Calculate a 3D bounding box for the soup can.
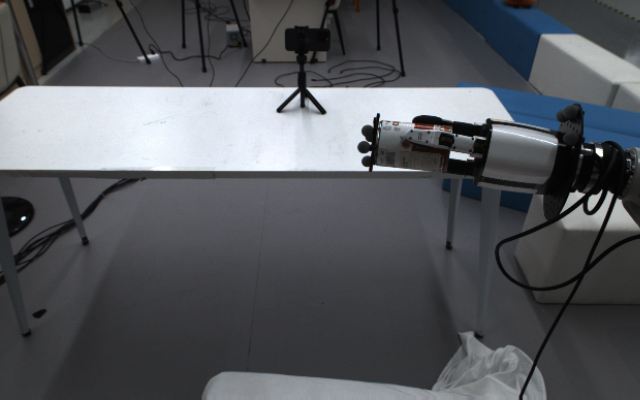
[{"bbox_3d":[0.135,-0.078,0.697,0.101,0.067,0.067,6,35,10],"label":"soup can"}]
